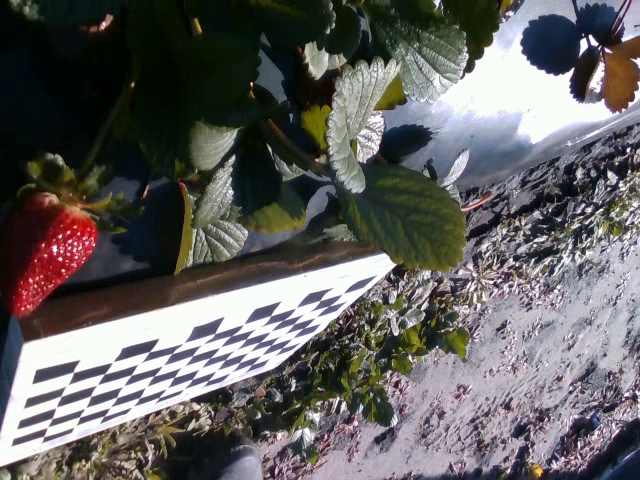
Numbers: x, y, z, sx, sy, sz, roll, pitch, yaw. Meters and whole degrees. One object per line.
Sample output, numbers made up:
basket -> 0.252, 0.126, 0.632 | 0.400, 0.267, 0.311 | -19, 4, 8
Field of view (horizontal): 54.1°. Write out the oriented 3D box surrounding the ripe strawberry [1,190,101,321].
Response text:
ripe strawberry -> -0.125, 0.006, 0.273 | 0.058, 0.062, 0.065 | -1, -11, 14
